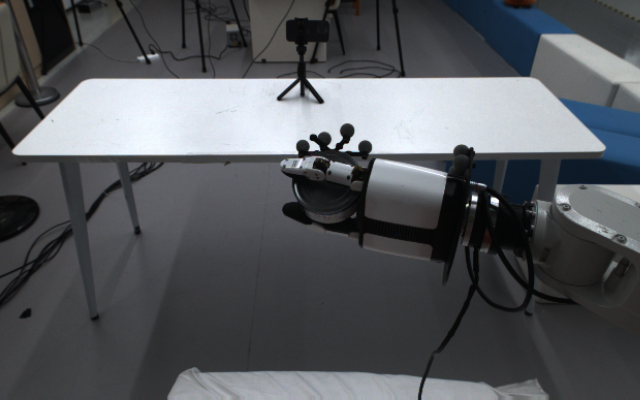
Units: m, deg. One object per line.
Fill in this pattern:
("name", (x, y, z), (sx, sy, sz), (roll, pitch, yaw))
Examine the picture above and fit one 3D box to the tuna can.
("tuna can", (0.013, -0.012, 0.583), (0.085, 0.034, 0.085), (-4, 62, 7))
